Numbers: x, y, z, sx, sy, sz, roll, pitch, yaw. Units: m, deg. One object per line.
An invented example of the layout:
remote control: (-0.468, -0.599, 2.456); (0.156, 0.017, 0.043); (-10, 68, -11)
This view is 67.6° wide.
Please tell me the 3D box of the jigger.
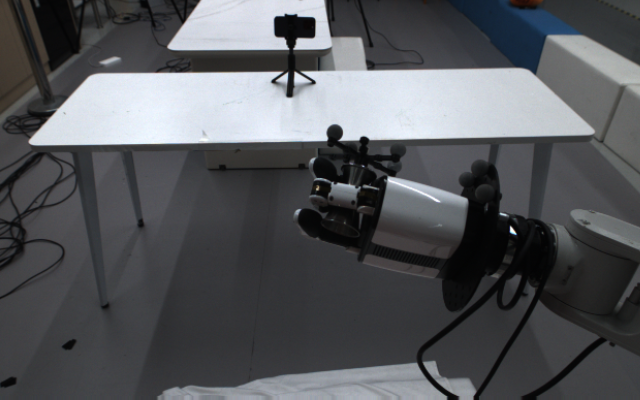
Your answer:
jigger: (0.035, 0.000, 0.515); (0.043, 0.043, 0.071); (12, 71, 14)
